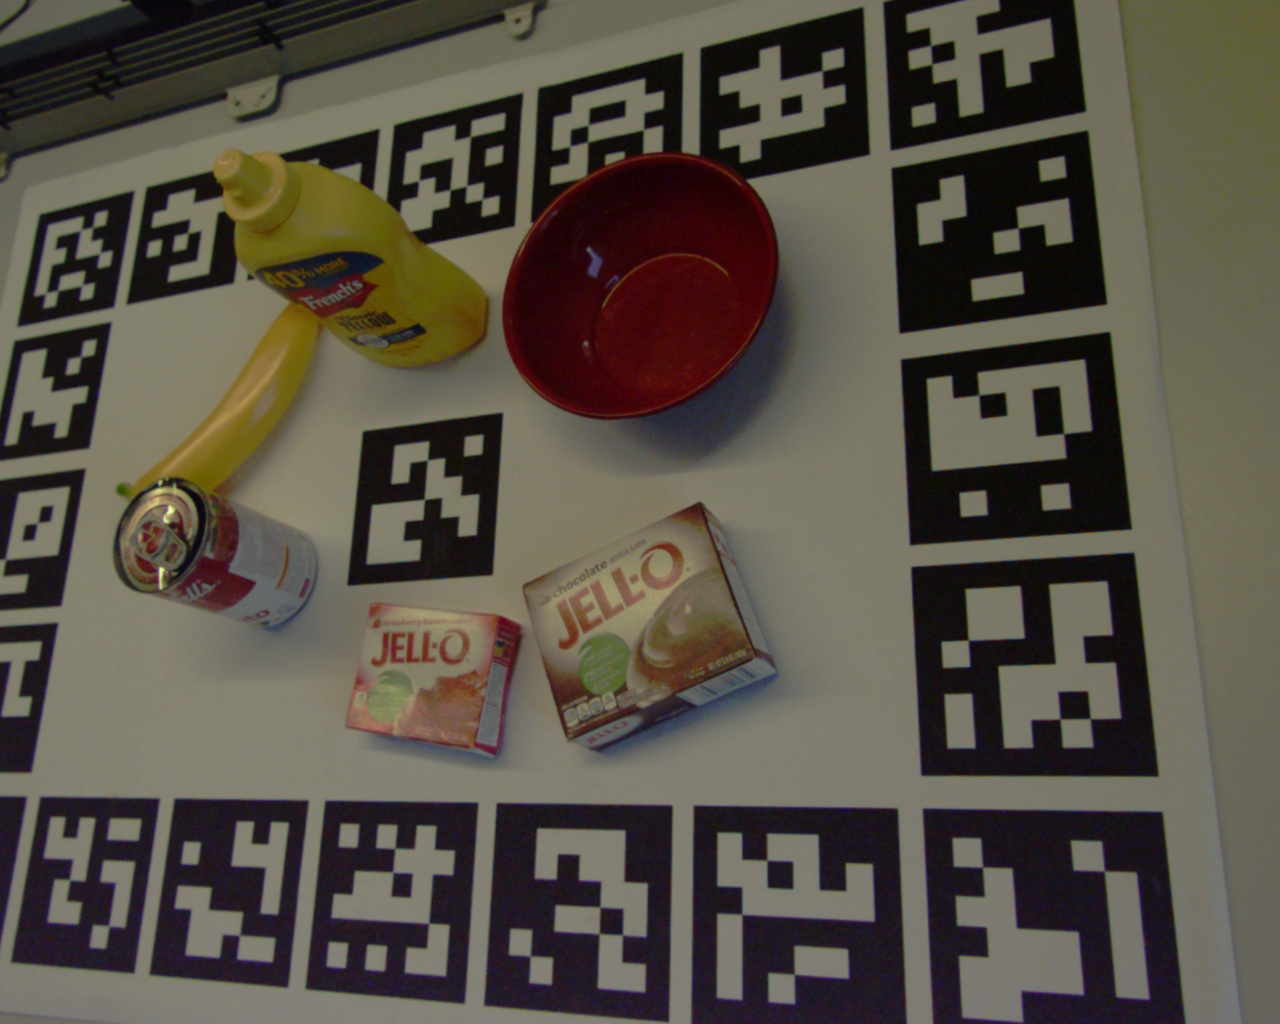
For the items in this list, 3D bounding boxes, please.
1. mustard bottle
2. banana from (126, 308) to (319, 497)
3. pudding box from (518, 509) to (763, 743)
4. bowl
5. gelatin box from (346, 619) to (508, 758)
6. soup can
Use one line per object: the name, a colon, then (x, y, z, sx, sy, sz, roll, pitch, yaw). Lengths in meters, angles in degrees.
mustard bottle: (-0.178, -0.145, 0.676, 0.097, 0.189, 0.058, -4, 69, 21)
banana: (-0.284, -0.069, 0.796, 0.197, 0.038, 0.075, -49, 52, 2)
pudding box: (-0.001, 0.064, 0.629, 0.114, 0.038, 0.090, -28, 70, 13)
bowl: (0.010, -0.118, 0.678, 0.163, 0.054, 0.162, -8, 70, 22)
gelatin box: (-0.127, 0.103, 0.676, 0.090, 0.030, 0.073, 2, 78, 25)
soup can: (-0.264, 0.023, 0.711, 0.068, 0.101, 0.068, -7, 69, 19)
